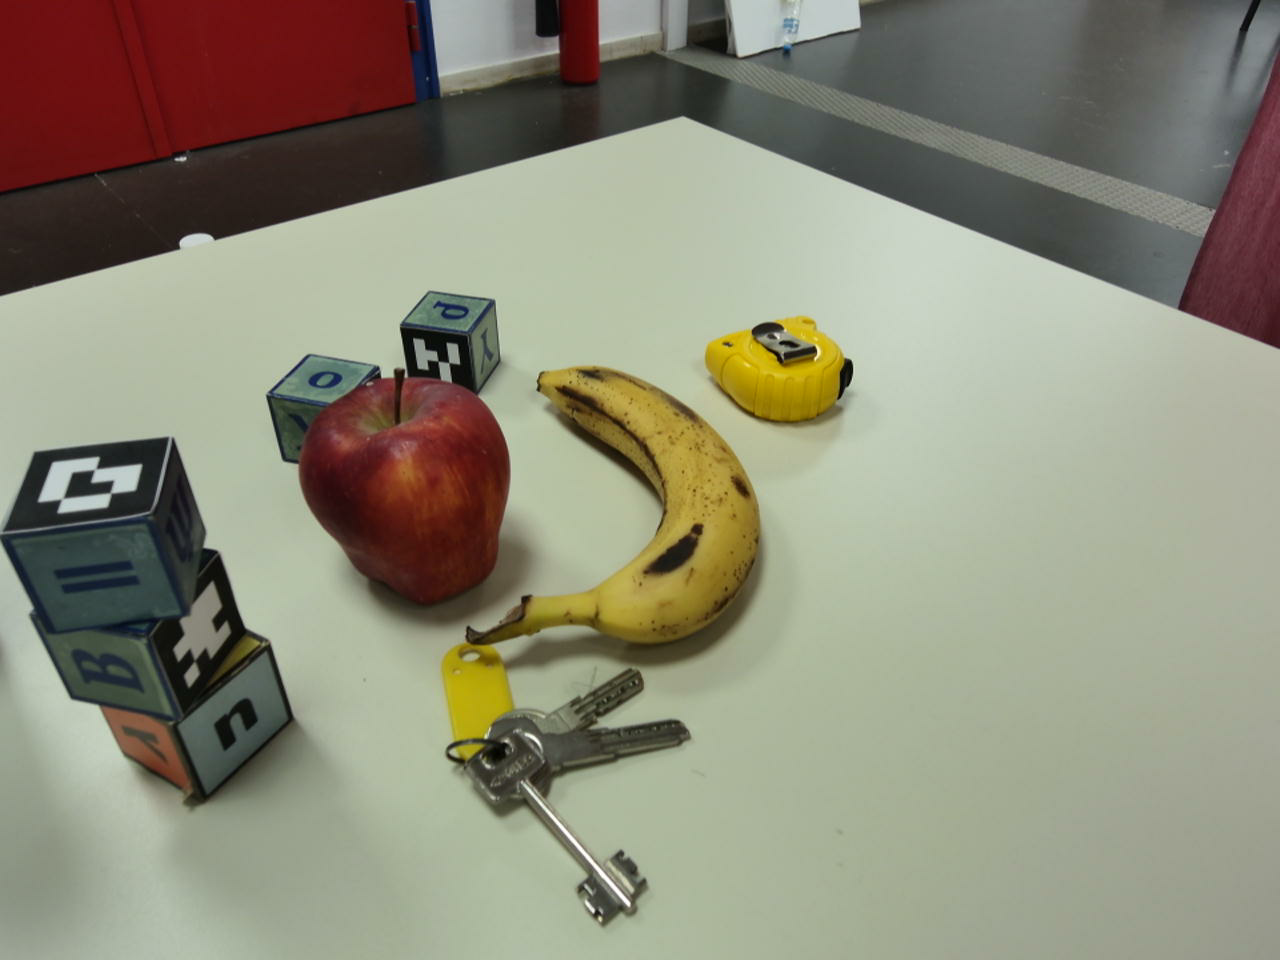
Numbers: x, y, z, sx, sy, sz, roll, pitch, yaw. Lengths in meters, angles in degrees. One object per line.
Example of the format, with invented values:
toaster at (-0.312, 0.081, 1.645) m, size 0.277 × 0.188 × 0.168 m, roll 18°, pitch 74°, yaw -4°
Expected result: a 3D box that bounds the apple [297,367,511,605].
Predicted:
apple at (-0.089, -0.001, 0.385) m, size 0.083 × 0.090 × 0.083 m, roll 1°, pitch 37°, yaw -1°
